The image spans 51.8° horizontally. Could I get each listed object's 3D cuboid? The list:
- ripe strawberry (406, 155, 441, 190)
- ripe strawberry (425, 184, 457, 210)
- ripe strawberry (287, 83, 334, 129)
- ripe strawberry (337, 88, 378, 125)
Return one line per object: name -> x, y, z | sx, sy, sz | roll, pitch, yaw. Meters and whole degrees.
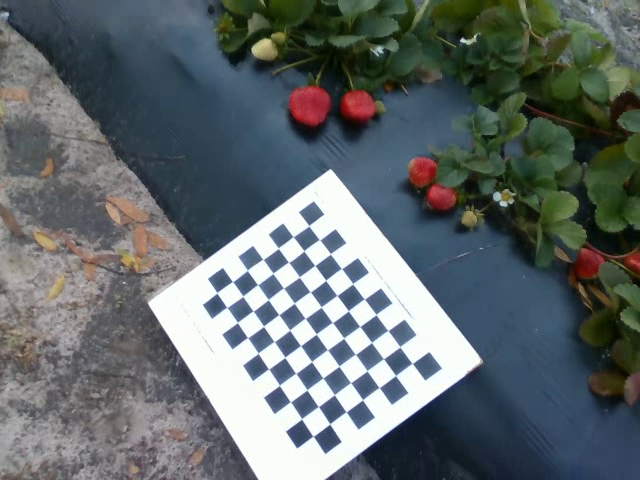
ripe strawberry -> 0.126, -0.088, 0.812 | 0.053, 0.047, 0.038 | 30, 0, -15
ripe strawberry -> 0.145, -0.056, 0.788 | 0.044, 0.041, 0.049 | 47, 28, 19
ripe strawberry -> -0.017, -0.172, 0.838 | 0.058, 0.065, 0.044 | -11, -32, 15
ripe strawberry -> 0.047, -0.175, 0.851 | 0.050, 0.051, 0.060 | -17, 25, 14
